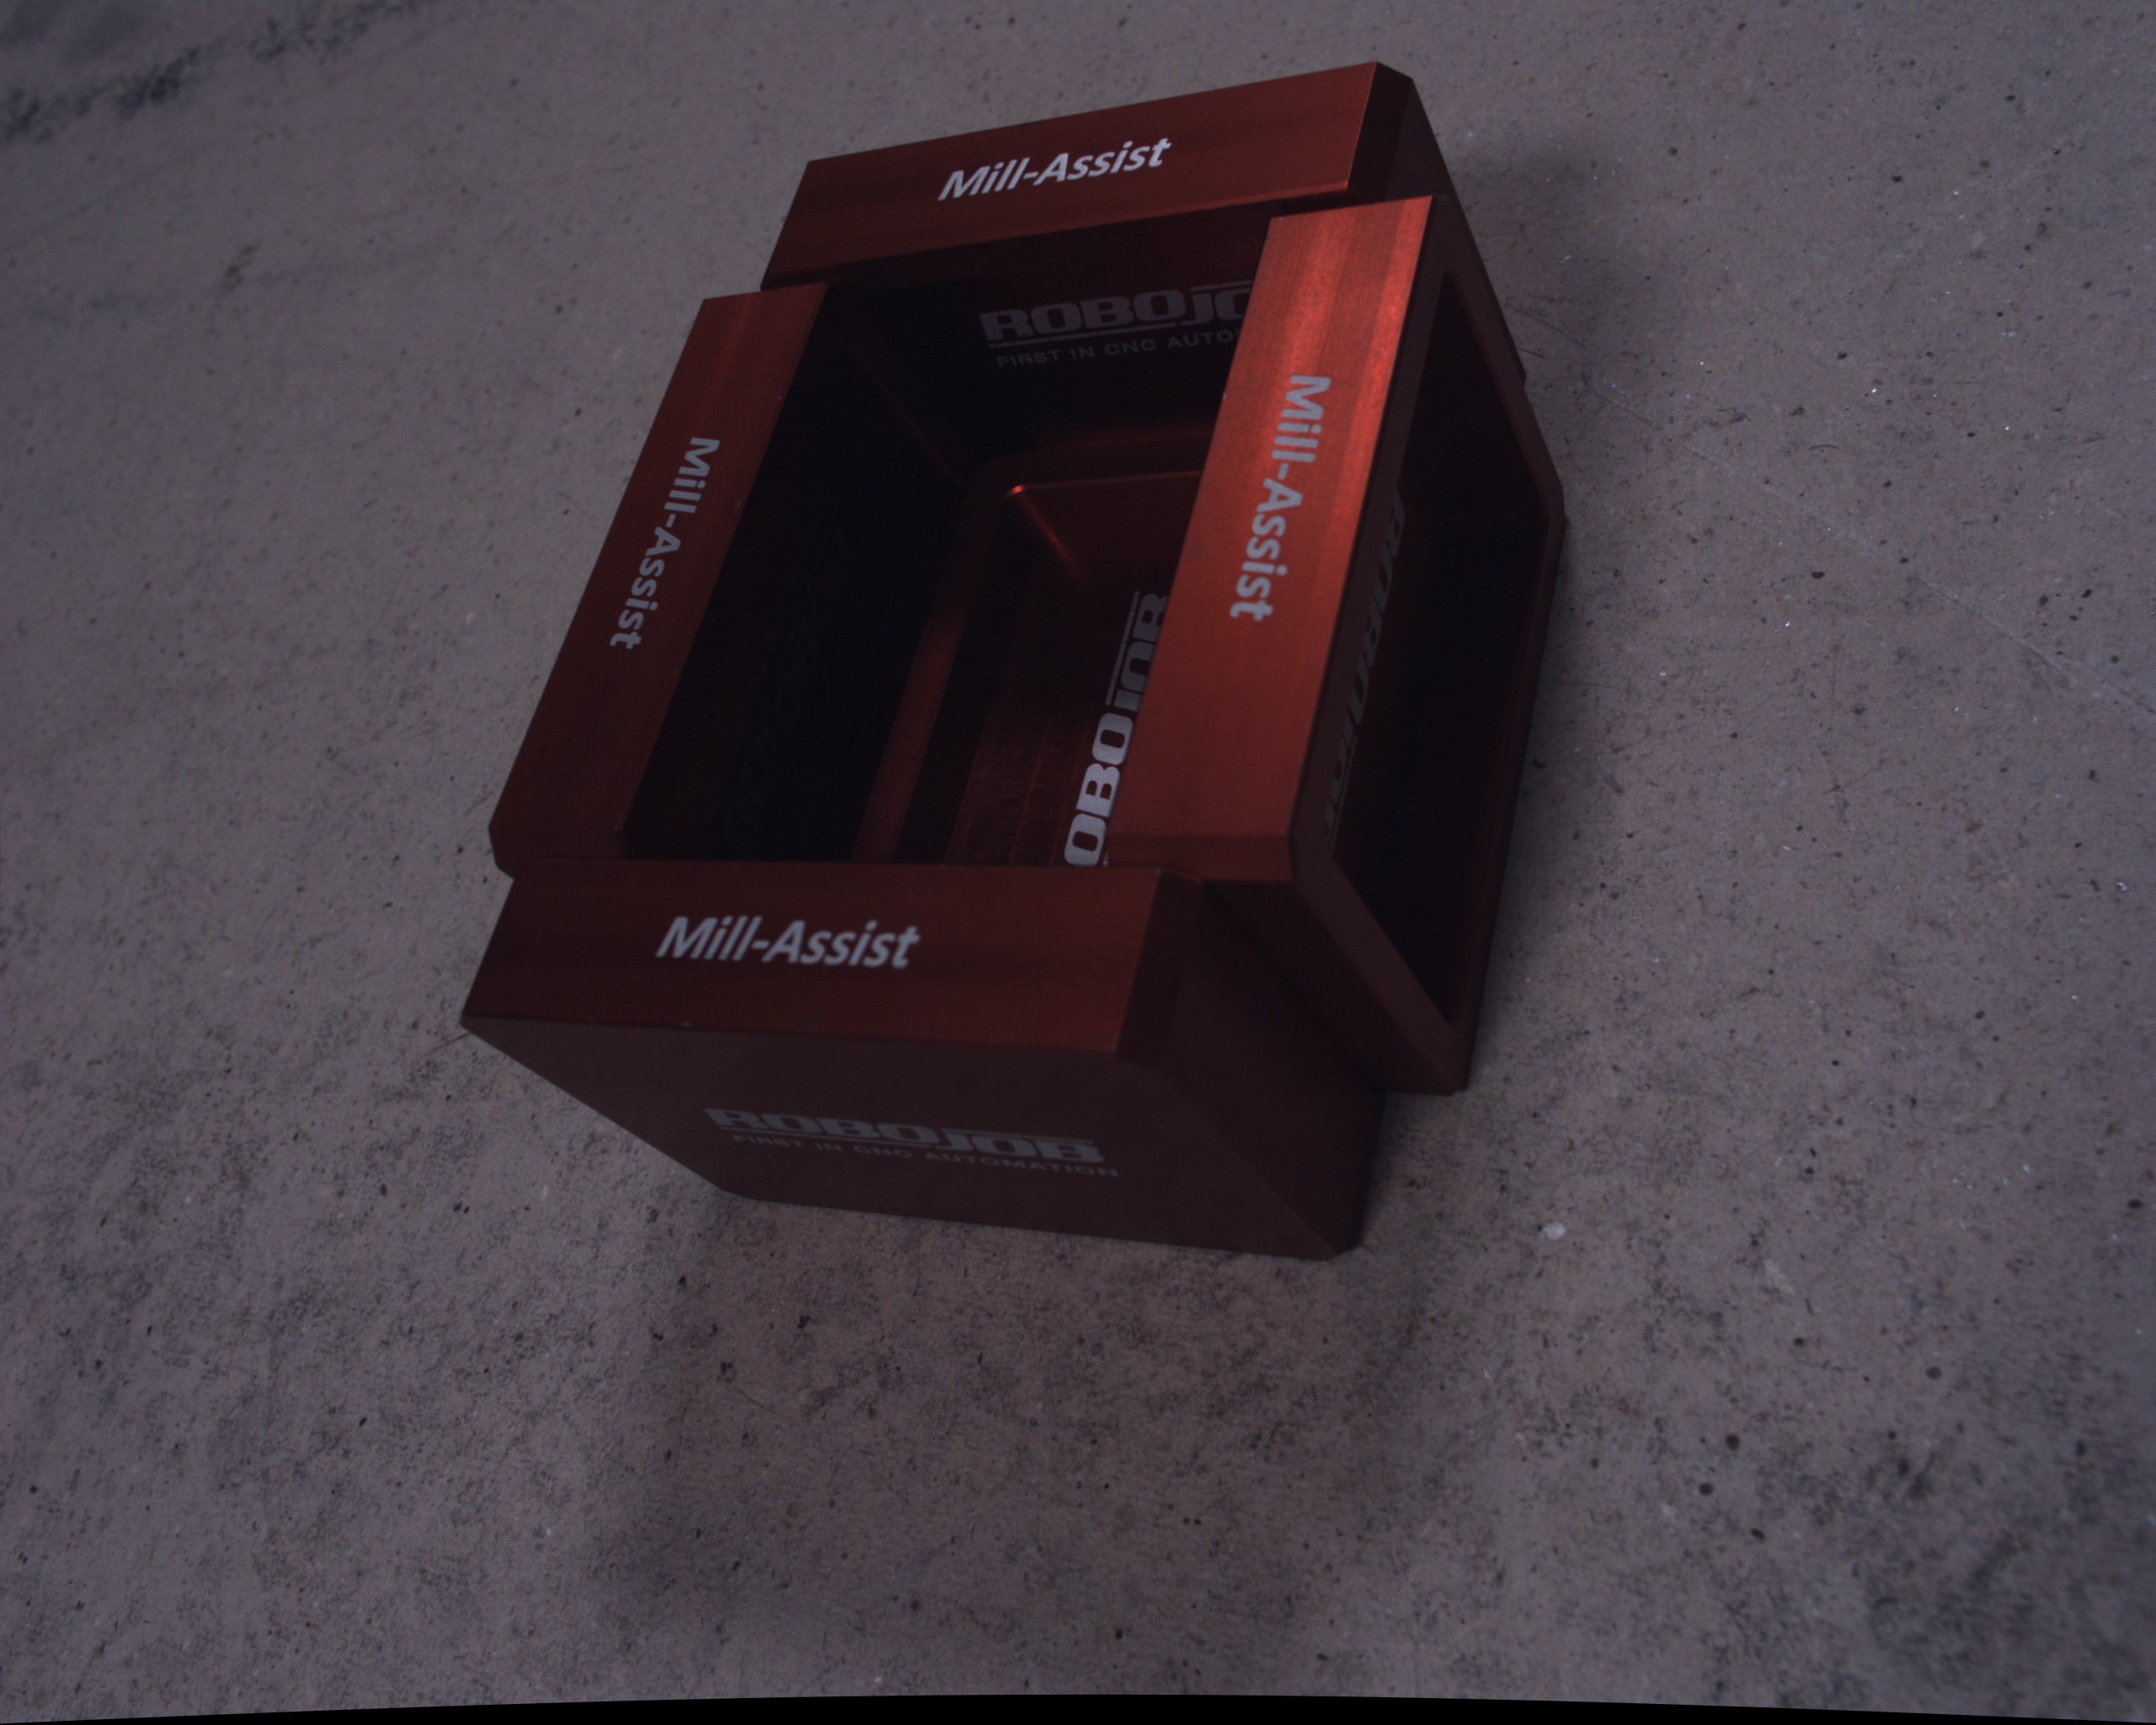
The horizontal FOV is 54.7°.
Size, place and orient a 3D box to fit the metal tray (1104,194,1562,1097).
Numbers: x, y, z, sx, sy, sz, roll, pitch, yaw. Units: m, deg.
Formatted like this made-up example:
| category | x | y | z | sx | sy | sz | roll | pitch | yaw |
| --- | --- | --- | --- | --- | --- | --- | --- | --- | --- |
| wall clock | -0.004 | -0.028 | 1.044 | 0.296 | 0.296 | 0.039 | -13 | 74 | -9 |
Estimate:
| category | x | y | z | sx | sy | sz | roll | pitch | yaw |
| --- | --- | --- | --- | --- | --- | --- | --- | --- | --- |
| metal tray | 0.050 | -0.036 | 0.358 | 0.030 | 0.090 | 0.130 | 1 | 62 | 28 |

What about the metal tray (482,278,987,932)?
| category | x | y | z | sx | sy | sz | roll | pitch | yaw |
| --- | --- | --- | --- | --- | --- | --- | --- | --- | --- |
| metal tray | -0.058 | -0.038 | 0.415 | 0.030 | 0.090 | 0.130 | 1 | 62 | 28 |

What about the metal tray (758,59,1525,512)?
| category | x | y | z | sx | sy | sz | roll | pitch | yaw |
| --- | --- | --- | --- | --- | --- | --- | --- | --- | --- |
| metal tray | 0.014 | -0.107 | 0.420 | 0.130 | 0.090 | 0.030 | 1 | 63 | 28 |

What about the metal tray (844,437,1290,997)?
| category | x | y | z | sx | sy | sz | roll | pitch | yaw |
| --- | --- | --- | --- | --- | --- | --- | --- | --- | --- |
| metal tray | 0.008 | -0.023 | 0.411 | 0.090 | 0.030 | 0.130 | 1 | 62 | 28 |

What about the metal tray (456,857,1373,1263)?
| category | x | y | z | sx | sy | sz | roll | pitch | yaw |
| --- | --- | --- | --- | --- | --- | --- | --- | --- | --- |
| metal tray | -0.026 | 0.034 | 0.355 | 0.130 | 0.090 | 0.030 | 1 | 63 | 28 |
